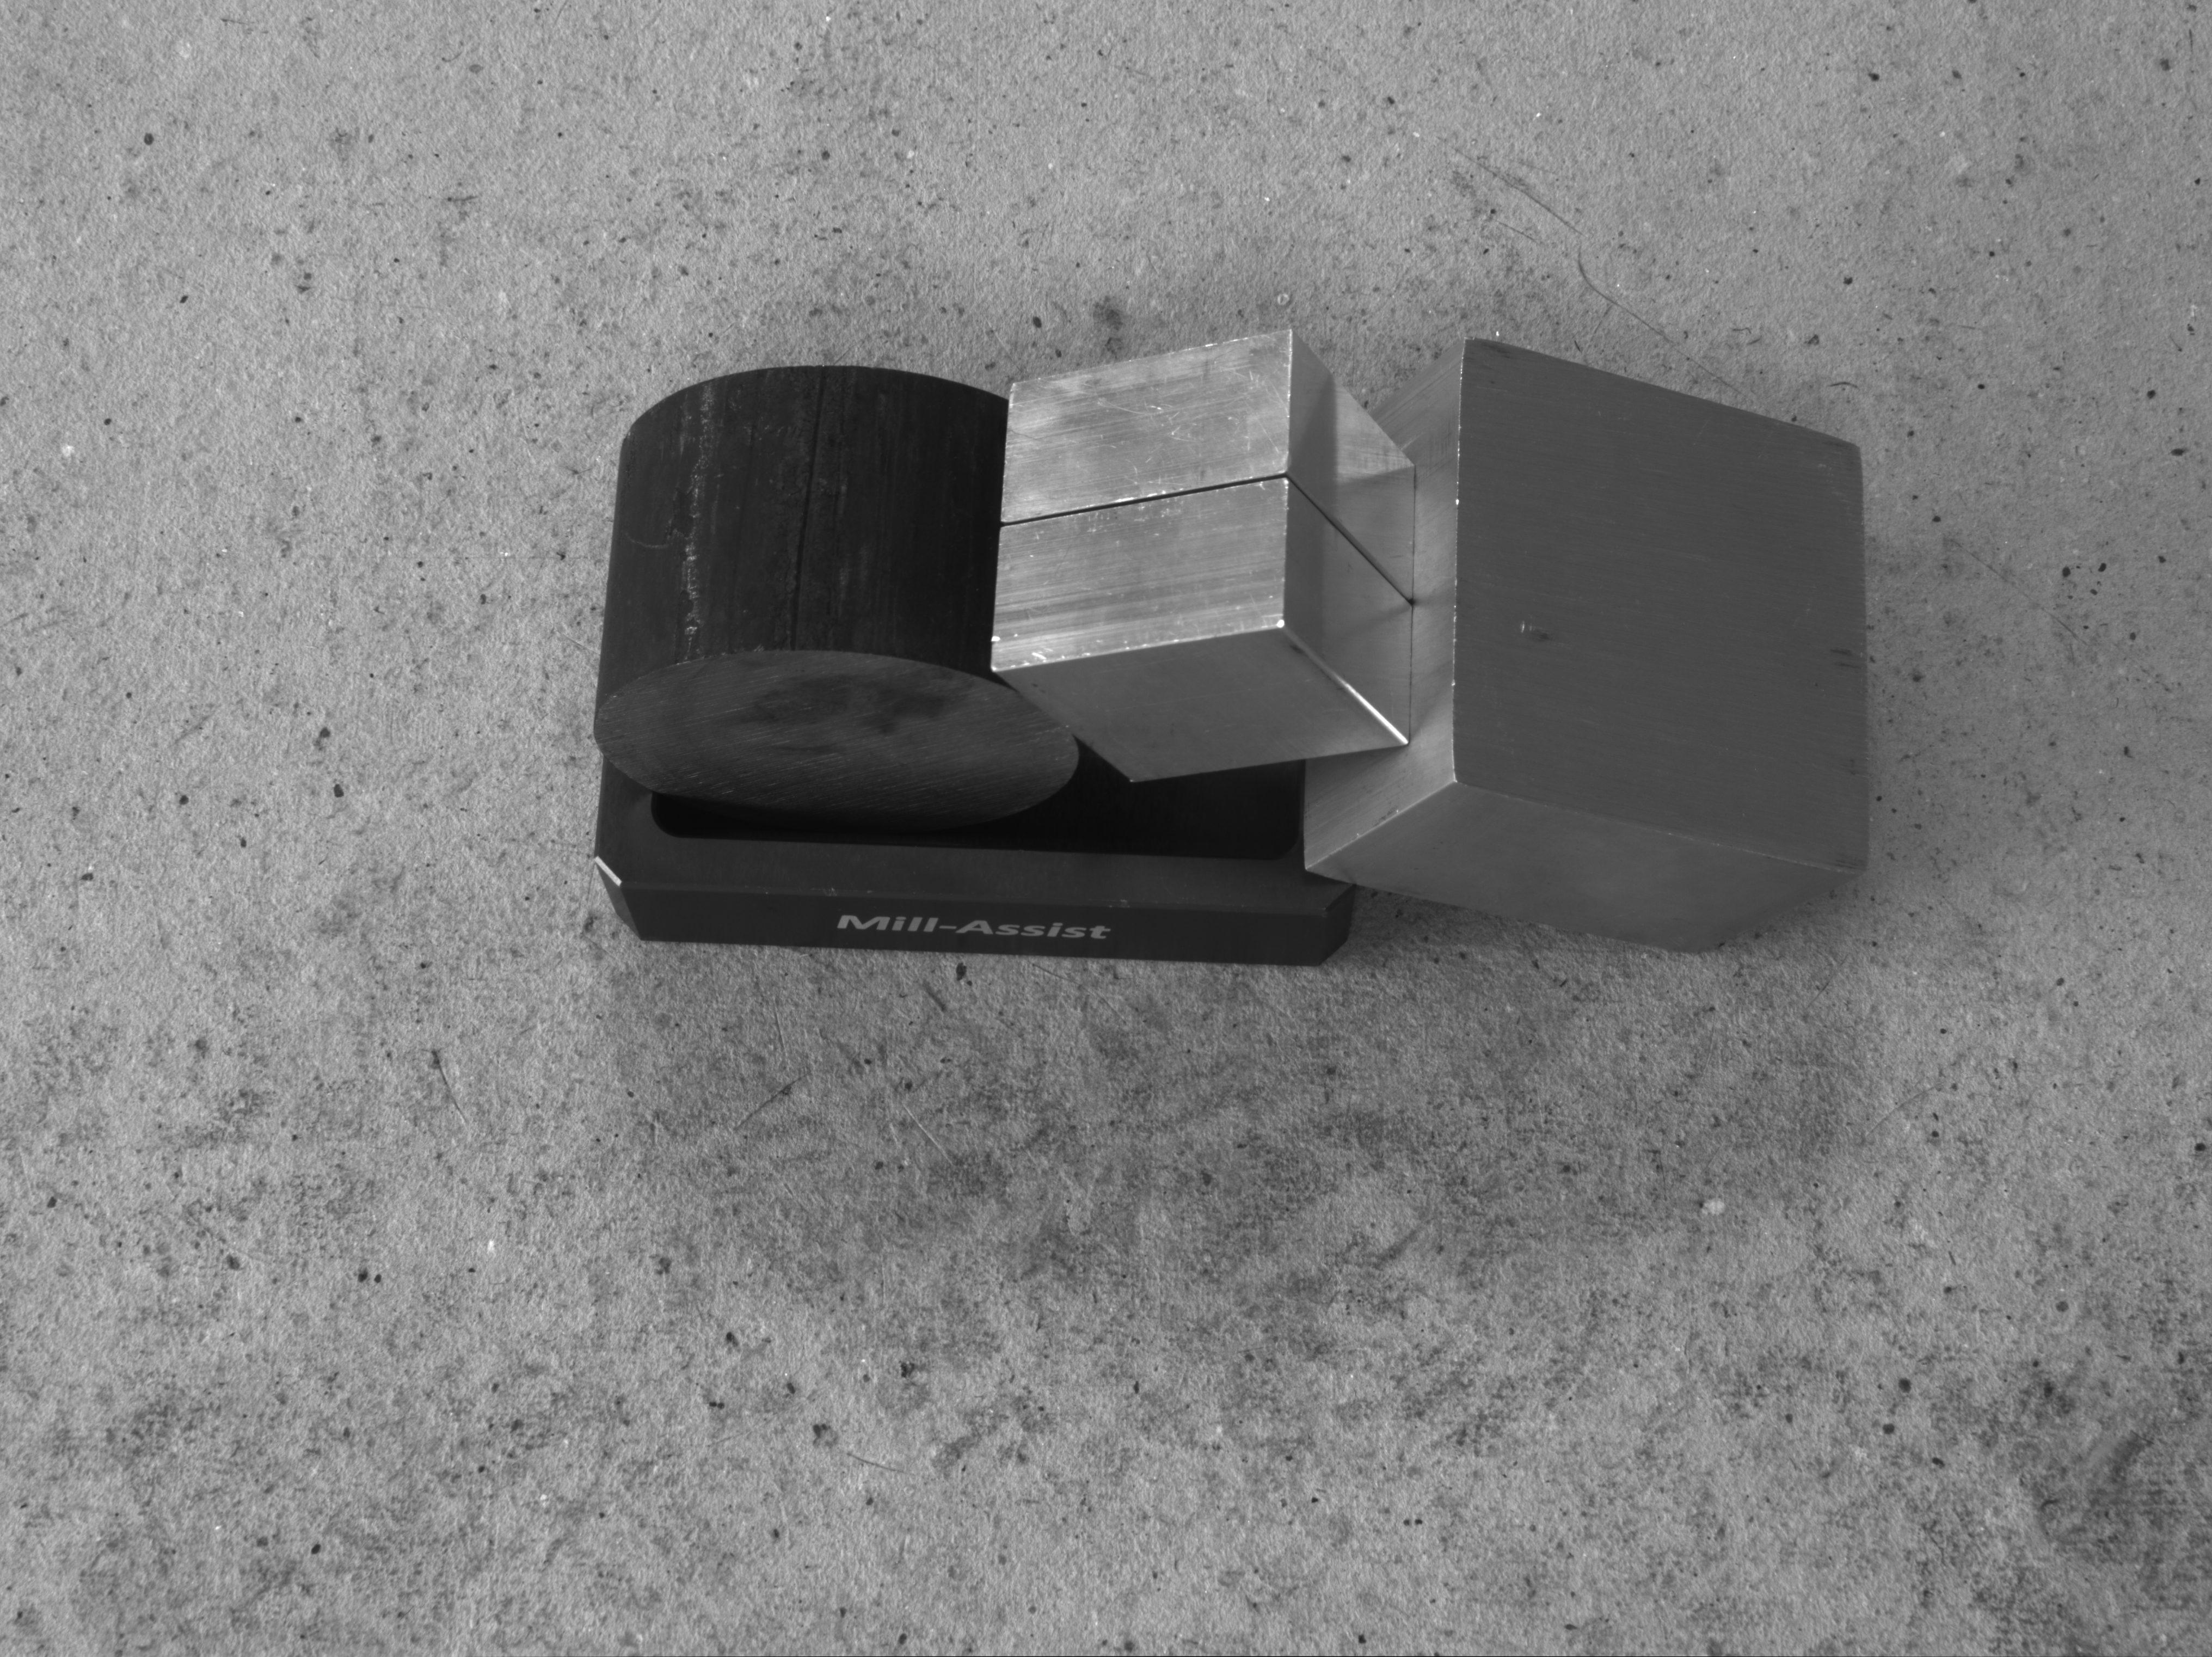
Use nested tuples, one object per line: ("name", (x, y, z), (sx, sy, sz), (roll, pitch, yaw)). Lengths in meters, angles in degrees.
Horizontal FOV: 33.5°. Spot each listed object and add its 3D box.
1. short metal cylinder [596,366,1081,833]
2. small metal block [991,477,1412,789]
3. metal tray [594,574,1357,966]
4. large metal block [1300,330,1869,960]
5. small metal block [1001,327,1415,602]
("short metal cylinder", (-0.044, -0.037, 0.616), (0.080, 0.080, 0.050), (1, 70, 1))
("small metal block", (0.016, -0.030, 0.587), (0.050, 0.050, 0.025), (-8, 66, 25))
("metal tray", (-0.020, -0.025, 0.652), (0.130, 0.030, 0.090), (2, 70, 1))
("large metal block", (0.082, -0.029, 0.628), (0.080, 0.050, 0.080), (12, 68, -23))
("small metal block", (0.017, -0.054, 0.597), (0.050, 0.050, 0.025), (-8, 66, 25))
